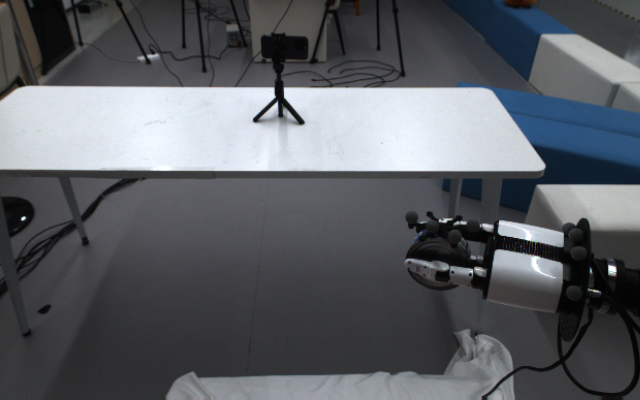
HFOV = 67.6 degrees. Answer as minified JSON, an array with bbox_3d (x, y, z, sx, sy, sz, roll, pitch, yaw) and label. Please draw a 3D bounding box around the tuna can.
[{"bbox_3d":[0.166,0.077,0.669,0.085,0.085,0.034,13,29,16],"label":"tuna can"}]
